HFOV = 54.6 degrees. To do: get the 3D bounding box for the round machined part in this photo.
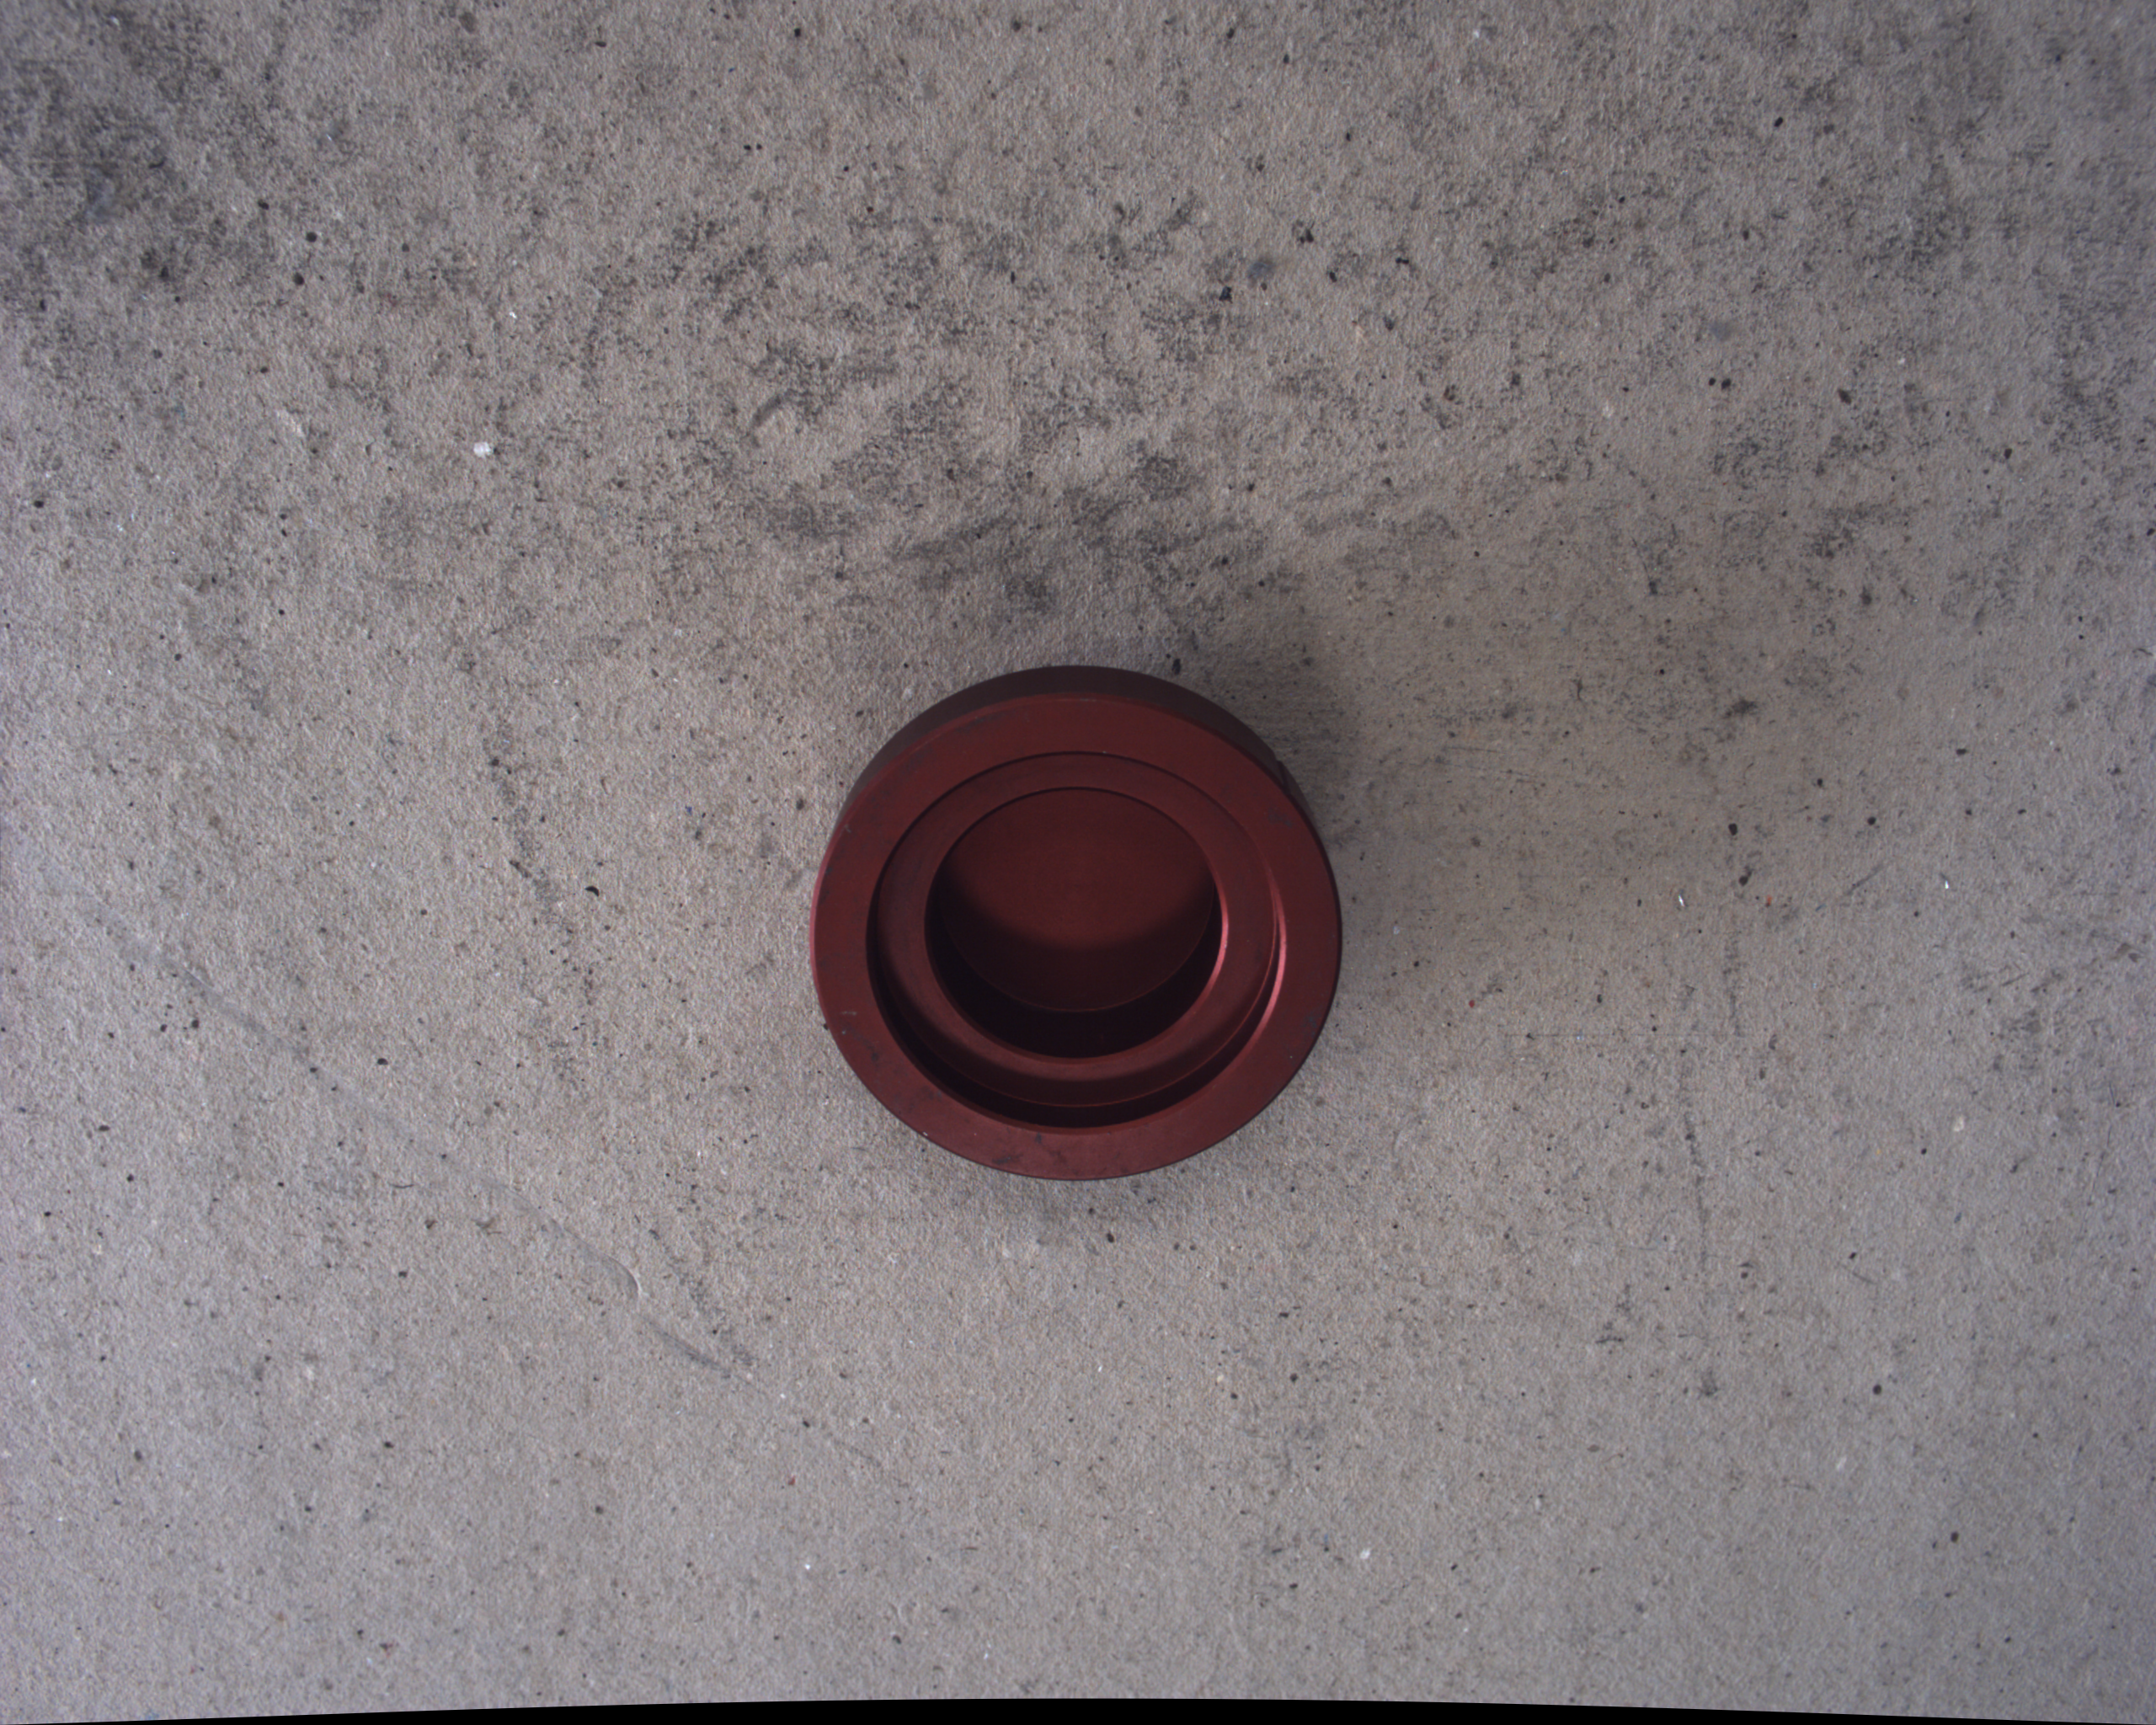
[{"bbox_3d":[0.000,0.009,0.405,0.099,0.042,0.097,0,110,0],"label":"round machined part"}]
